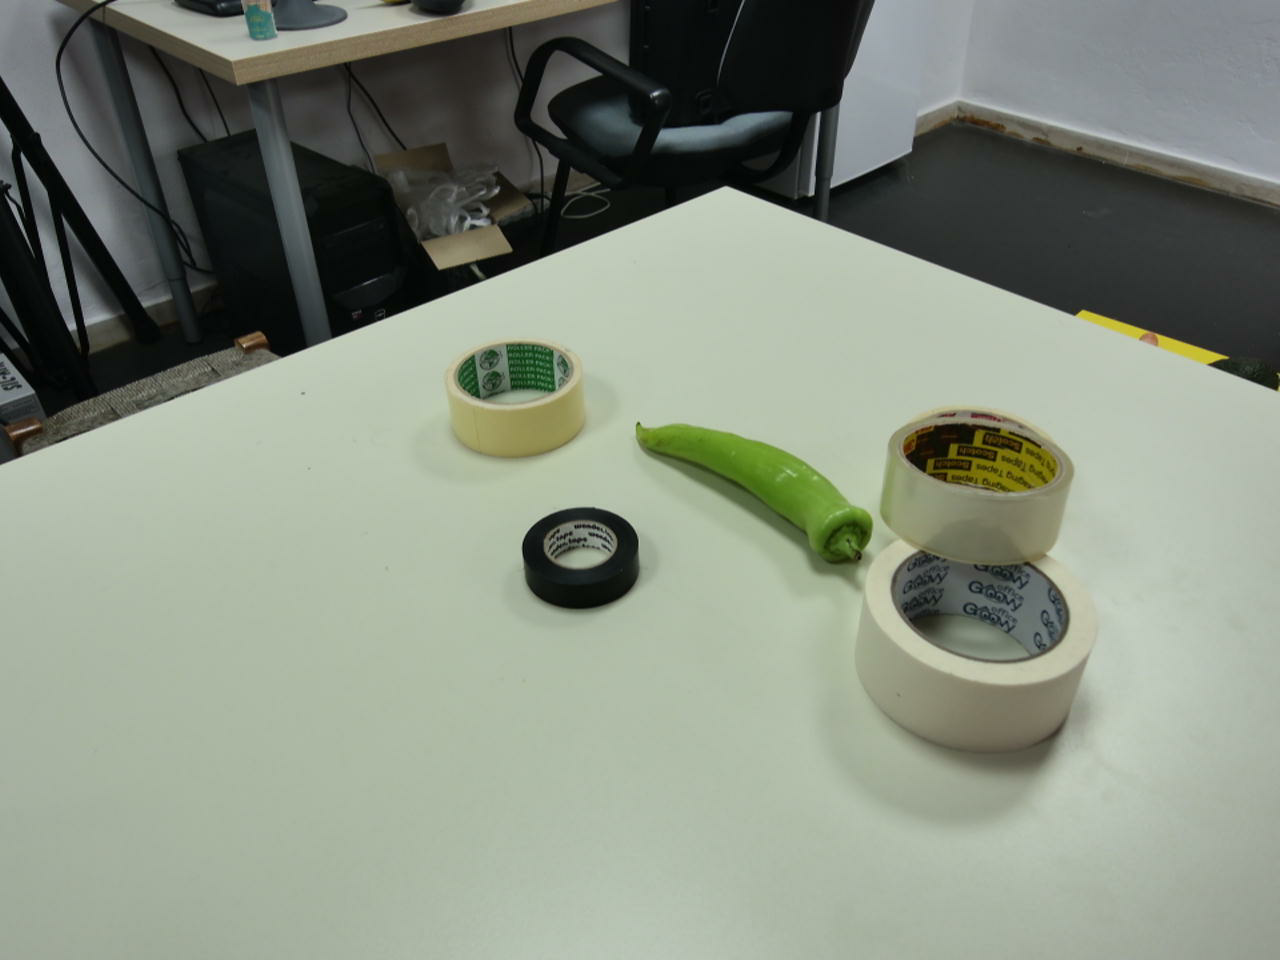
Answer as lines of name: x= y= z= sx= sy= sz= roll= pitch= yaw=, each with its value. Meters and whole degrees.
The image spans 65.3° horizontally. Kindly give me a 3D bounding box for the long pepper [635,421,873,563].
long pepper: x=0.068 y=-0.006 z=0.608 sx=0.046 sy=0.038 sz=0.197 roll=-26 pitch=43 yaw=-30
